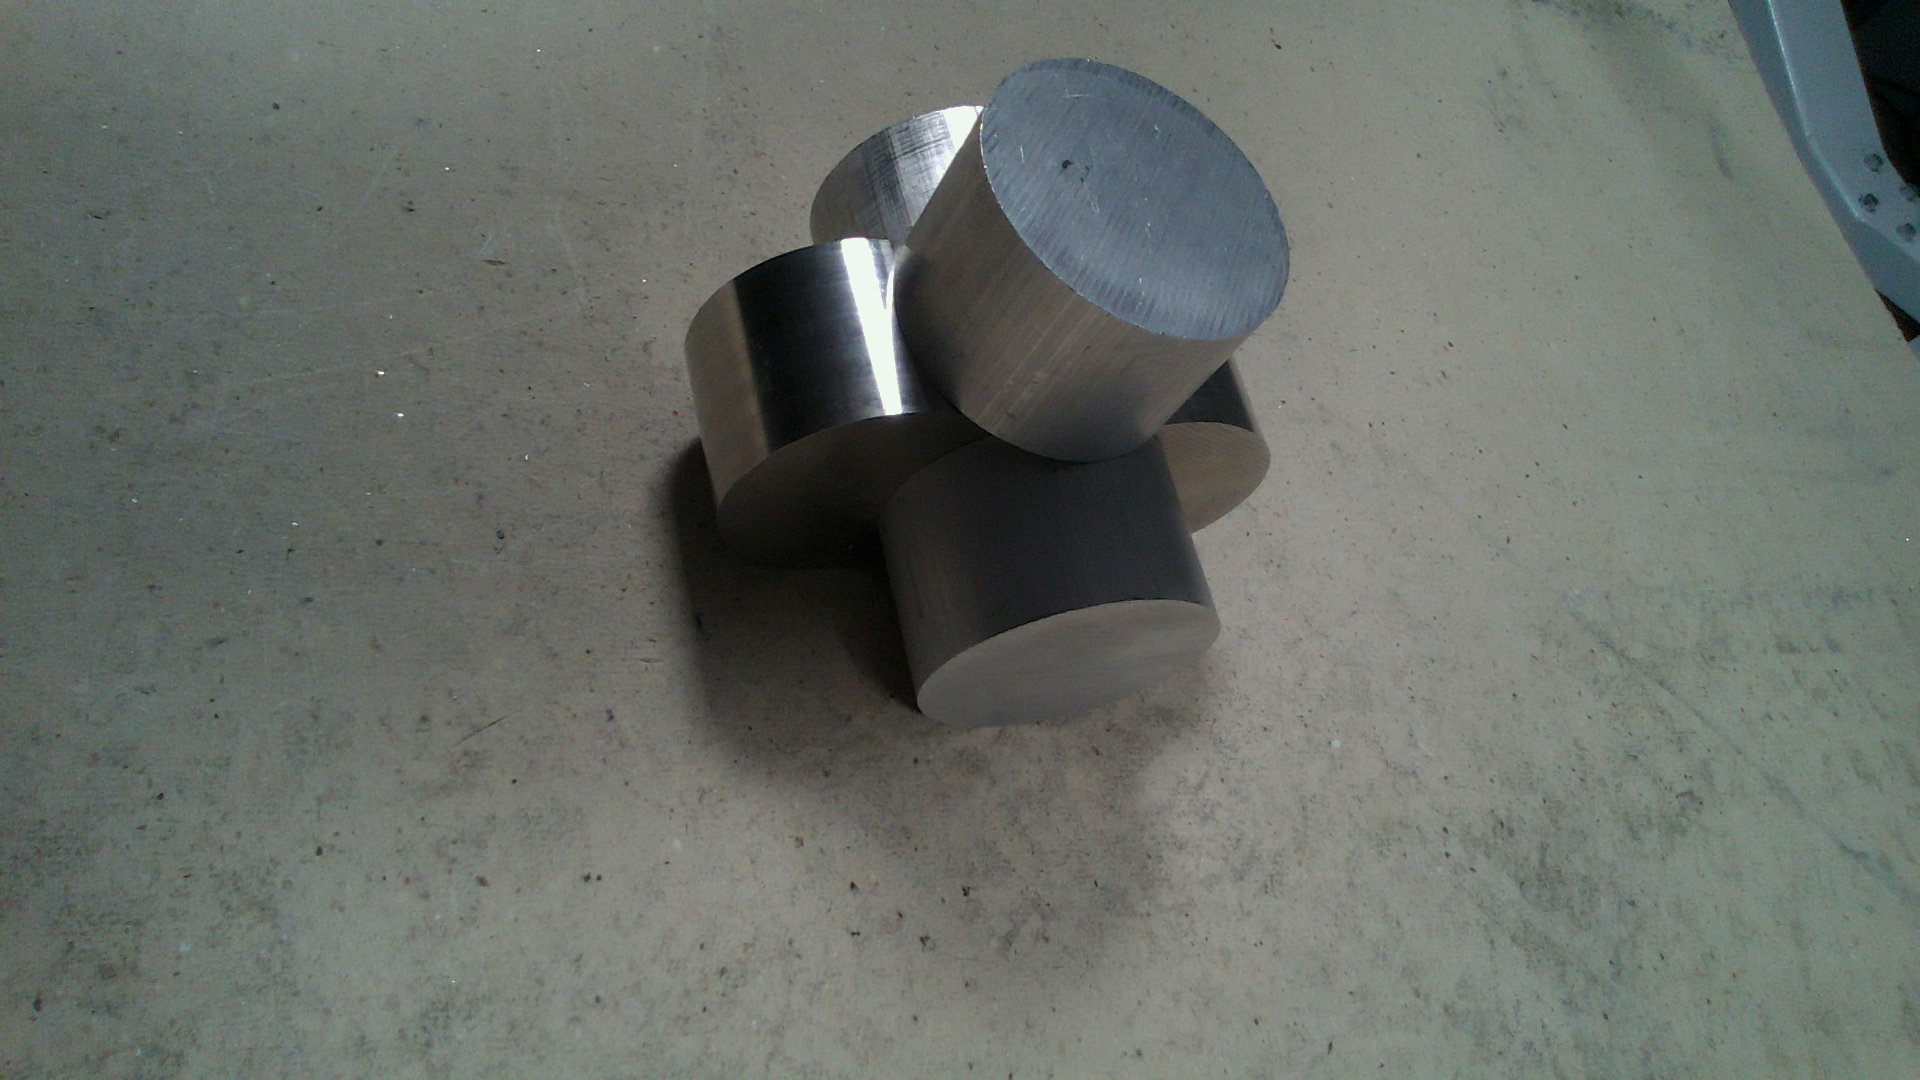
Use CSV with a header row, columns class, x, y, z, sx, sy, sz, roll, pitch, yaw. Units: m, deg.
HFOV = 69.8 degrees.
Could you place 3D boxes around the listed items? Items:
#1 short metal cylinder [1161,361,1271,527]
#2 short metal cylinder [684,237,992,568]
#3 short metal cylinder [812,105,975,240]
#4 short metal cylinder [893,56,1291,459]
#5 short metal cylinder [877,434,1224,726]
class,x,y,z,sx,sy,sz,roll,pitch,yaw
short metal cylinder,0.043,-0.034,0.398,0.080,0.080,0.050,0,62,-28
short metal cylinder,-0.028,-0.033,0.360,0.080,0.080,0.050,-1,62,-29
short metal cylinder,0.000,-0.079,0.403,0.080,0.080,0.050,-2,62,-29
short metal cylinder,0.031,-0.067,0.328,0.080,0.050,0.080,14,56,-21
short metal cylinder,0.023,0.011,0.360,0.080,0.080,0.050,0,62,-28
